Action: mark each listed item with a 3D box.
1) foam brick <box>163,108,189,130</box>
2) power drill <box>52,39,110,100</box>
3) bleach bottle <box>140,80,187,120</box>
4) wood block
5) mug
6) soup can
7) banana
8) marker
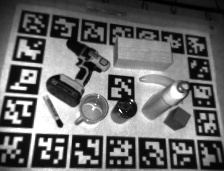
[{"bbox_3d":[0.228,0.117,0.769,0.052,0.078,0.051,36,66,5],"label":"foam brick"},{"bbox_3d":[-0.124,-0.057,0.764,0.185,0.057,0.187,33,66,-3],"label":"power drill"},{"bbox_3d":[0.167,0.038,0.688,0.068,0.250,0.103,32,67,2],"label":"bleach bottle"},{"bbox_3d":[0.113,-0.120,0.818,0.207,0.091,0.089,4,71,-11],"label":"wood block"},{"bbox_3d":[-0.078,0.079,0.708,0.117,0.081,0.093,-42,86,-19],"label":"mug"},{"bbox_3d":[0.032,0.079,0.716,0.068,0.102,0.067,5,66,-11],"label":"soup can"},{"bbox_3d":[0.186,-0.022,0.824,0.198,0.038,0.074,20,82,-7],"label":"banana"},{"bbox_3d":[-0.198,0.083,0.716,0.020,0.019,0.120,-25,79,-17],"label":"marker"}]
